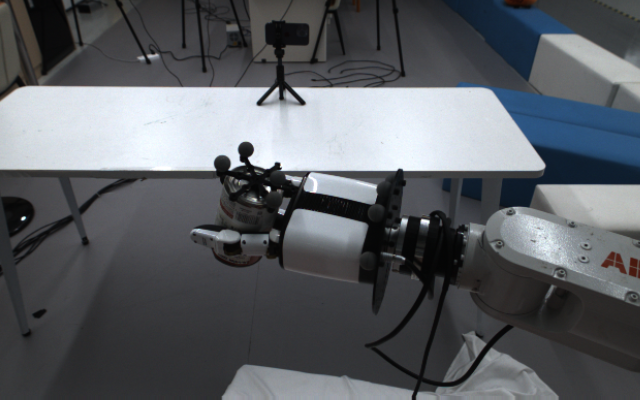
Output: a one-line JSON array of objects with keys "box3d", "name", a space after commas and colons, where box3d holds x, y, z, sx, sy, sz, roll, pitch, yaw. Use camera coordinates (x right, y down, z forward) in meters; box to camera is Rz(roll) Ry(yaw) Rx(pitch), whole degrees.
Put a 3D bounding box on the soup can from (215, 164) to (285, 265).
[{"box3d": [-0.084, 0.020, 0.554, 0.067, 0.101, 0.067, 14, 40, -12], "name": "soup can"}]
